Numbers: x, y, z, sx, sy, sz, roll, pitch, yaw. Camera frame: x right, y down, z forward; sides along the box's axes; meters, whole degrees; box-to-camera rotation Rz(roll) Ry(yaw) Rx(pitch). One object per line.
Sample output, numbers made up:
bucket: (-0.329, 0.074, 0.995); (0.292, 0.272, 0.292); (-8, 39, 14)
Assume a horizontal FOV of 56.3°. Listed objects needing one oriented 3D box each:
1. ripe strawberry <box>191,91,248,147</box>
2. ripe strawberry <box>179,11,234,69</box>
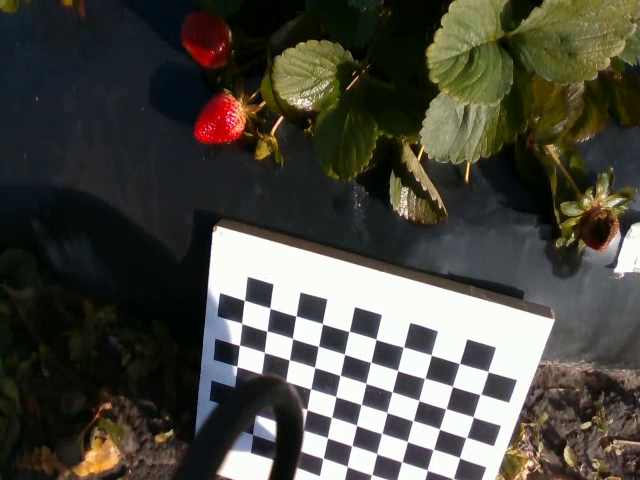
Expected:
ripe strawberry: (-0.086, -0.099, 0.515); (0.053, 0.043, 0.038); (-37, 9, -19)
ripe strawberry: (-0.093, -0.168, 0.531); (0.054, 0.048, 0.039); (22, 24, -20)
